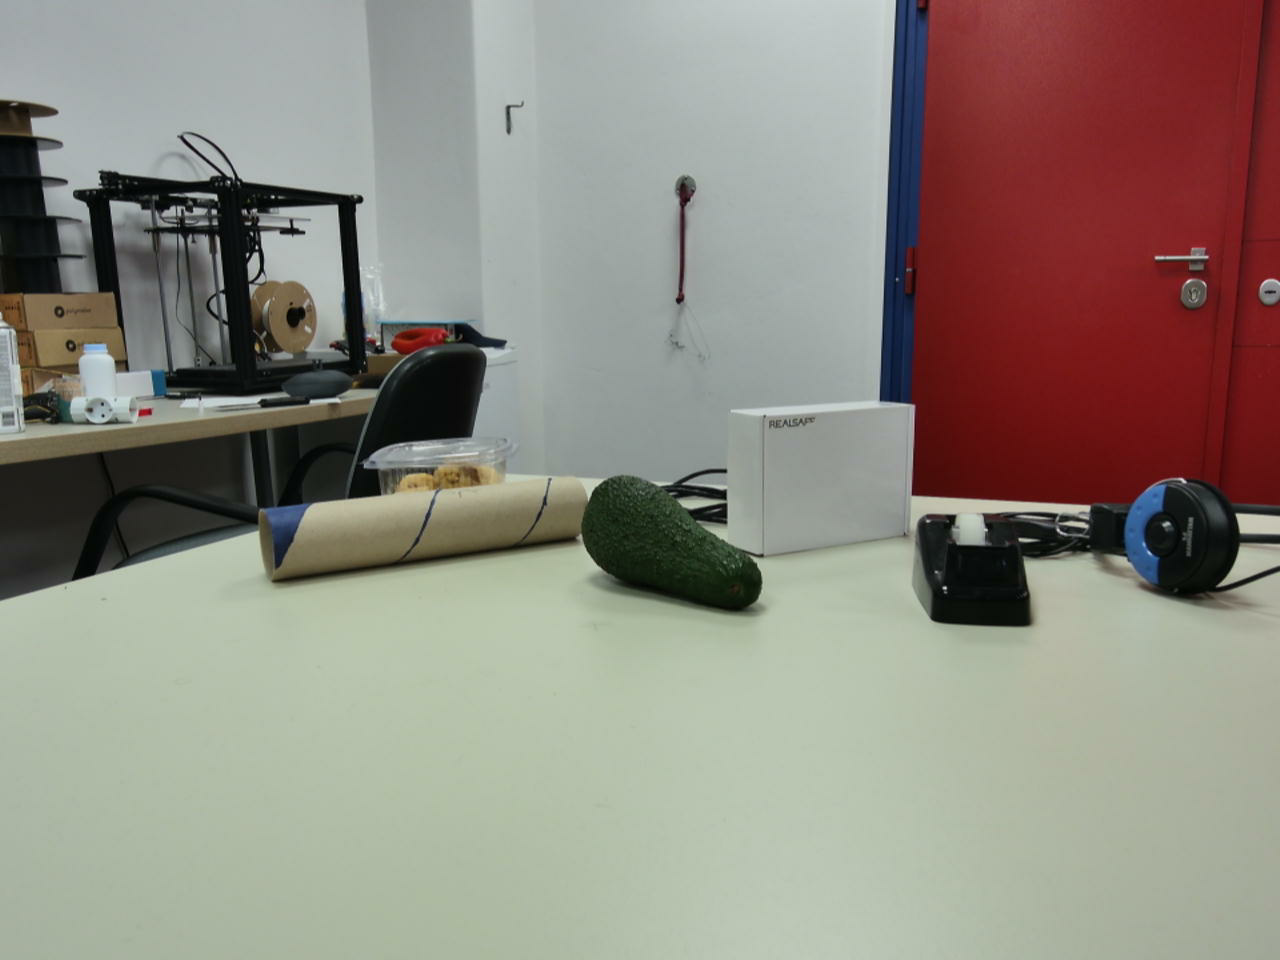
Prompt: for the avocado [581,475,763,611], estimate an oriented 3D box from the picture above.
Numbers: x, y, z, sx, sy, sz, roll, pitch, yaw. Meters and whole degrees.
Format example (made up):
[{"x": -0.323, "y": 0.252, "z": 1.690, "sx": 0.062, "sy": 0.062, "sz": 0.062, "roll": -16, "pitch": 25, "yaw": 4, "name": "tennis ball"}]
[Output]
[{"x": 0.021, "y": 0.033, "z": 0.598, "sx": 0.141, "sy": 0.067, "sz": 0.063, "roll": 6, "pitch": 9, "yaw": 38, "name": "avocado"}]
